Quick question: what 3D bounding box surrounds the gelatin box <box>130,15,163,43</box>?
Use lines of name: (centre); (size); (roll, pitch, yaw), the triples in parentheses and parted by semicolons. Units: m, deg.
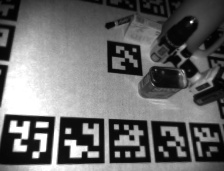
gelatin box: (0.105, -0.163, 0.623); (0.090, 0.073, 0.030); (15, 70, -13)

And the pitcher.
pitcher: (0.264, -0.184, 0.596); (0.188, 0.242, 0.133); (32, 67, 4)

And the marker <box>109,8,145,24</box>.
marker: (0.045, -0.209, 0.648); (0.122, 0.019, 0.019); (-23, 78, -23)

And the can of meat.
can of meat: (0.139, -0.011, 0.566); (0.102, 0.083, 0.057); (3, 67, -17)

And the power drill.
power drill: (0.215, -0.083, 0.566); (0.187, 0.183, 0.057); (38, 66, -6)
